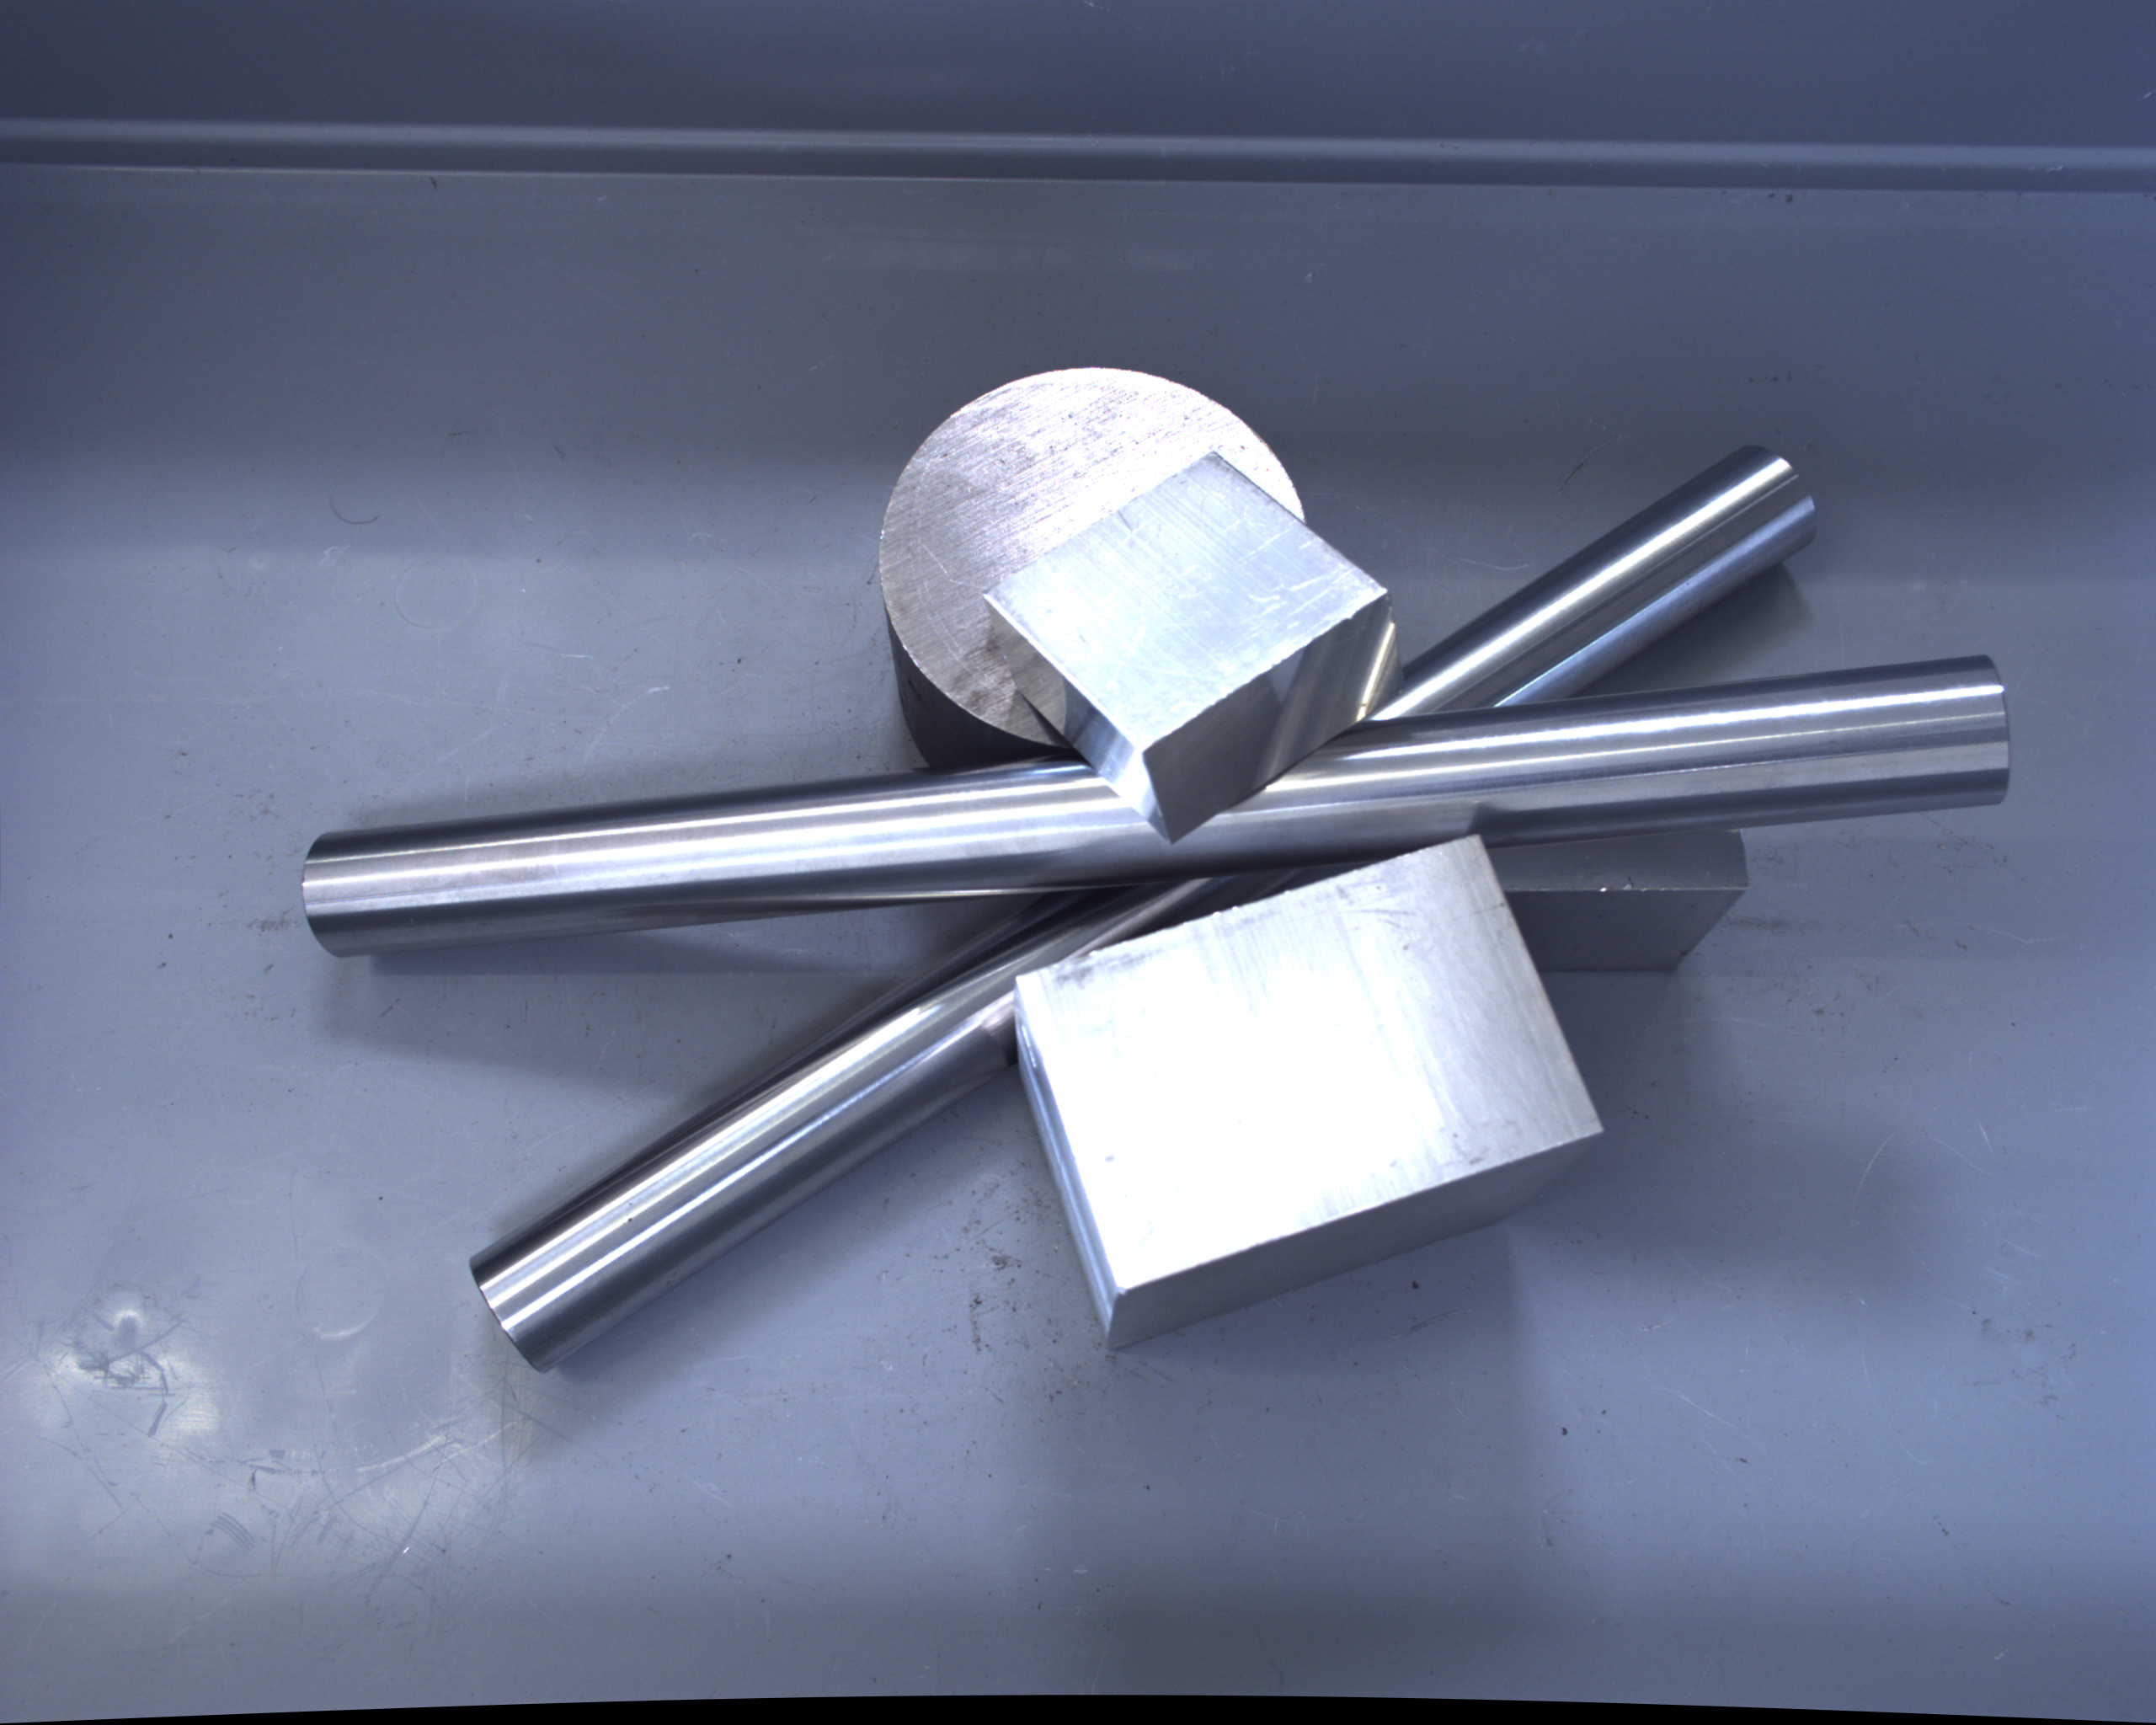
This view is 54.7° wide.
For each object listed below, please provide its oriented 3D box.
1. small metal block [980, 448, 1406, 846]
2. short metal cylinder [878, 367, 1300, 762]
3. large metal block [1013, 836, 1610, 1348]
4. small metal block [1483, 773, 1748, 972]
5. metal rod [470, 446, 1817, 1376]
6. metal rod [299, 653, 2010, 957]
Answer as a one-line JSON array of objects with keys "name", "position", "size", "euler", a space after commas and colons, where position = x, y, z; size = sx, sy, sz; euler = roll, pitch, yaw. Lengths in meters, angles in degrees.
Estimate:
[{"name": "small metal block", "position": [0.020, -0.038, 0.360], "size": [0.050, 0.025, 0.050], "euler": [-34, 51, -11]}, {"name": "short metal cylinder", "position": [0.003, -0.050, 0.413], "size": [0.081, 0.050, 0.080], "euler": [0, 69, 0]}, {"name": "large metal block", "position": [0.036, 0.043, 0.362], "size": [0.081, 0.080, 0.050], "euler": [-17, 71, -6]}, {"name": "small metal block", "position": [0.093, 0.002, 0.395], "size": [0.050, 0.050, 0.025], "euler": [0, 70, 1]}, {"name": "metal rod", "position": [0.021, 0.003, 0.408], "size": [0.301, 0.025, 0.025], "euler": [-33, 73, -11]}, {"name": "metal rod", "position": [0.003, -0.008, 0.373], "size": [0.301, 0.025, 0.025], "euler": [-5, 70, 12]}]
